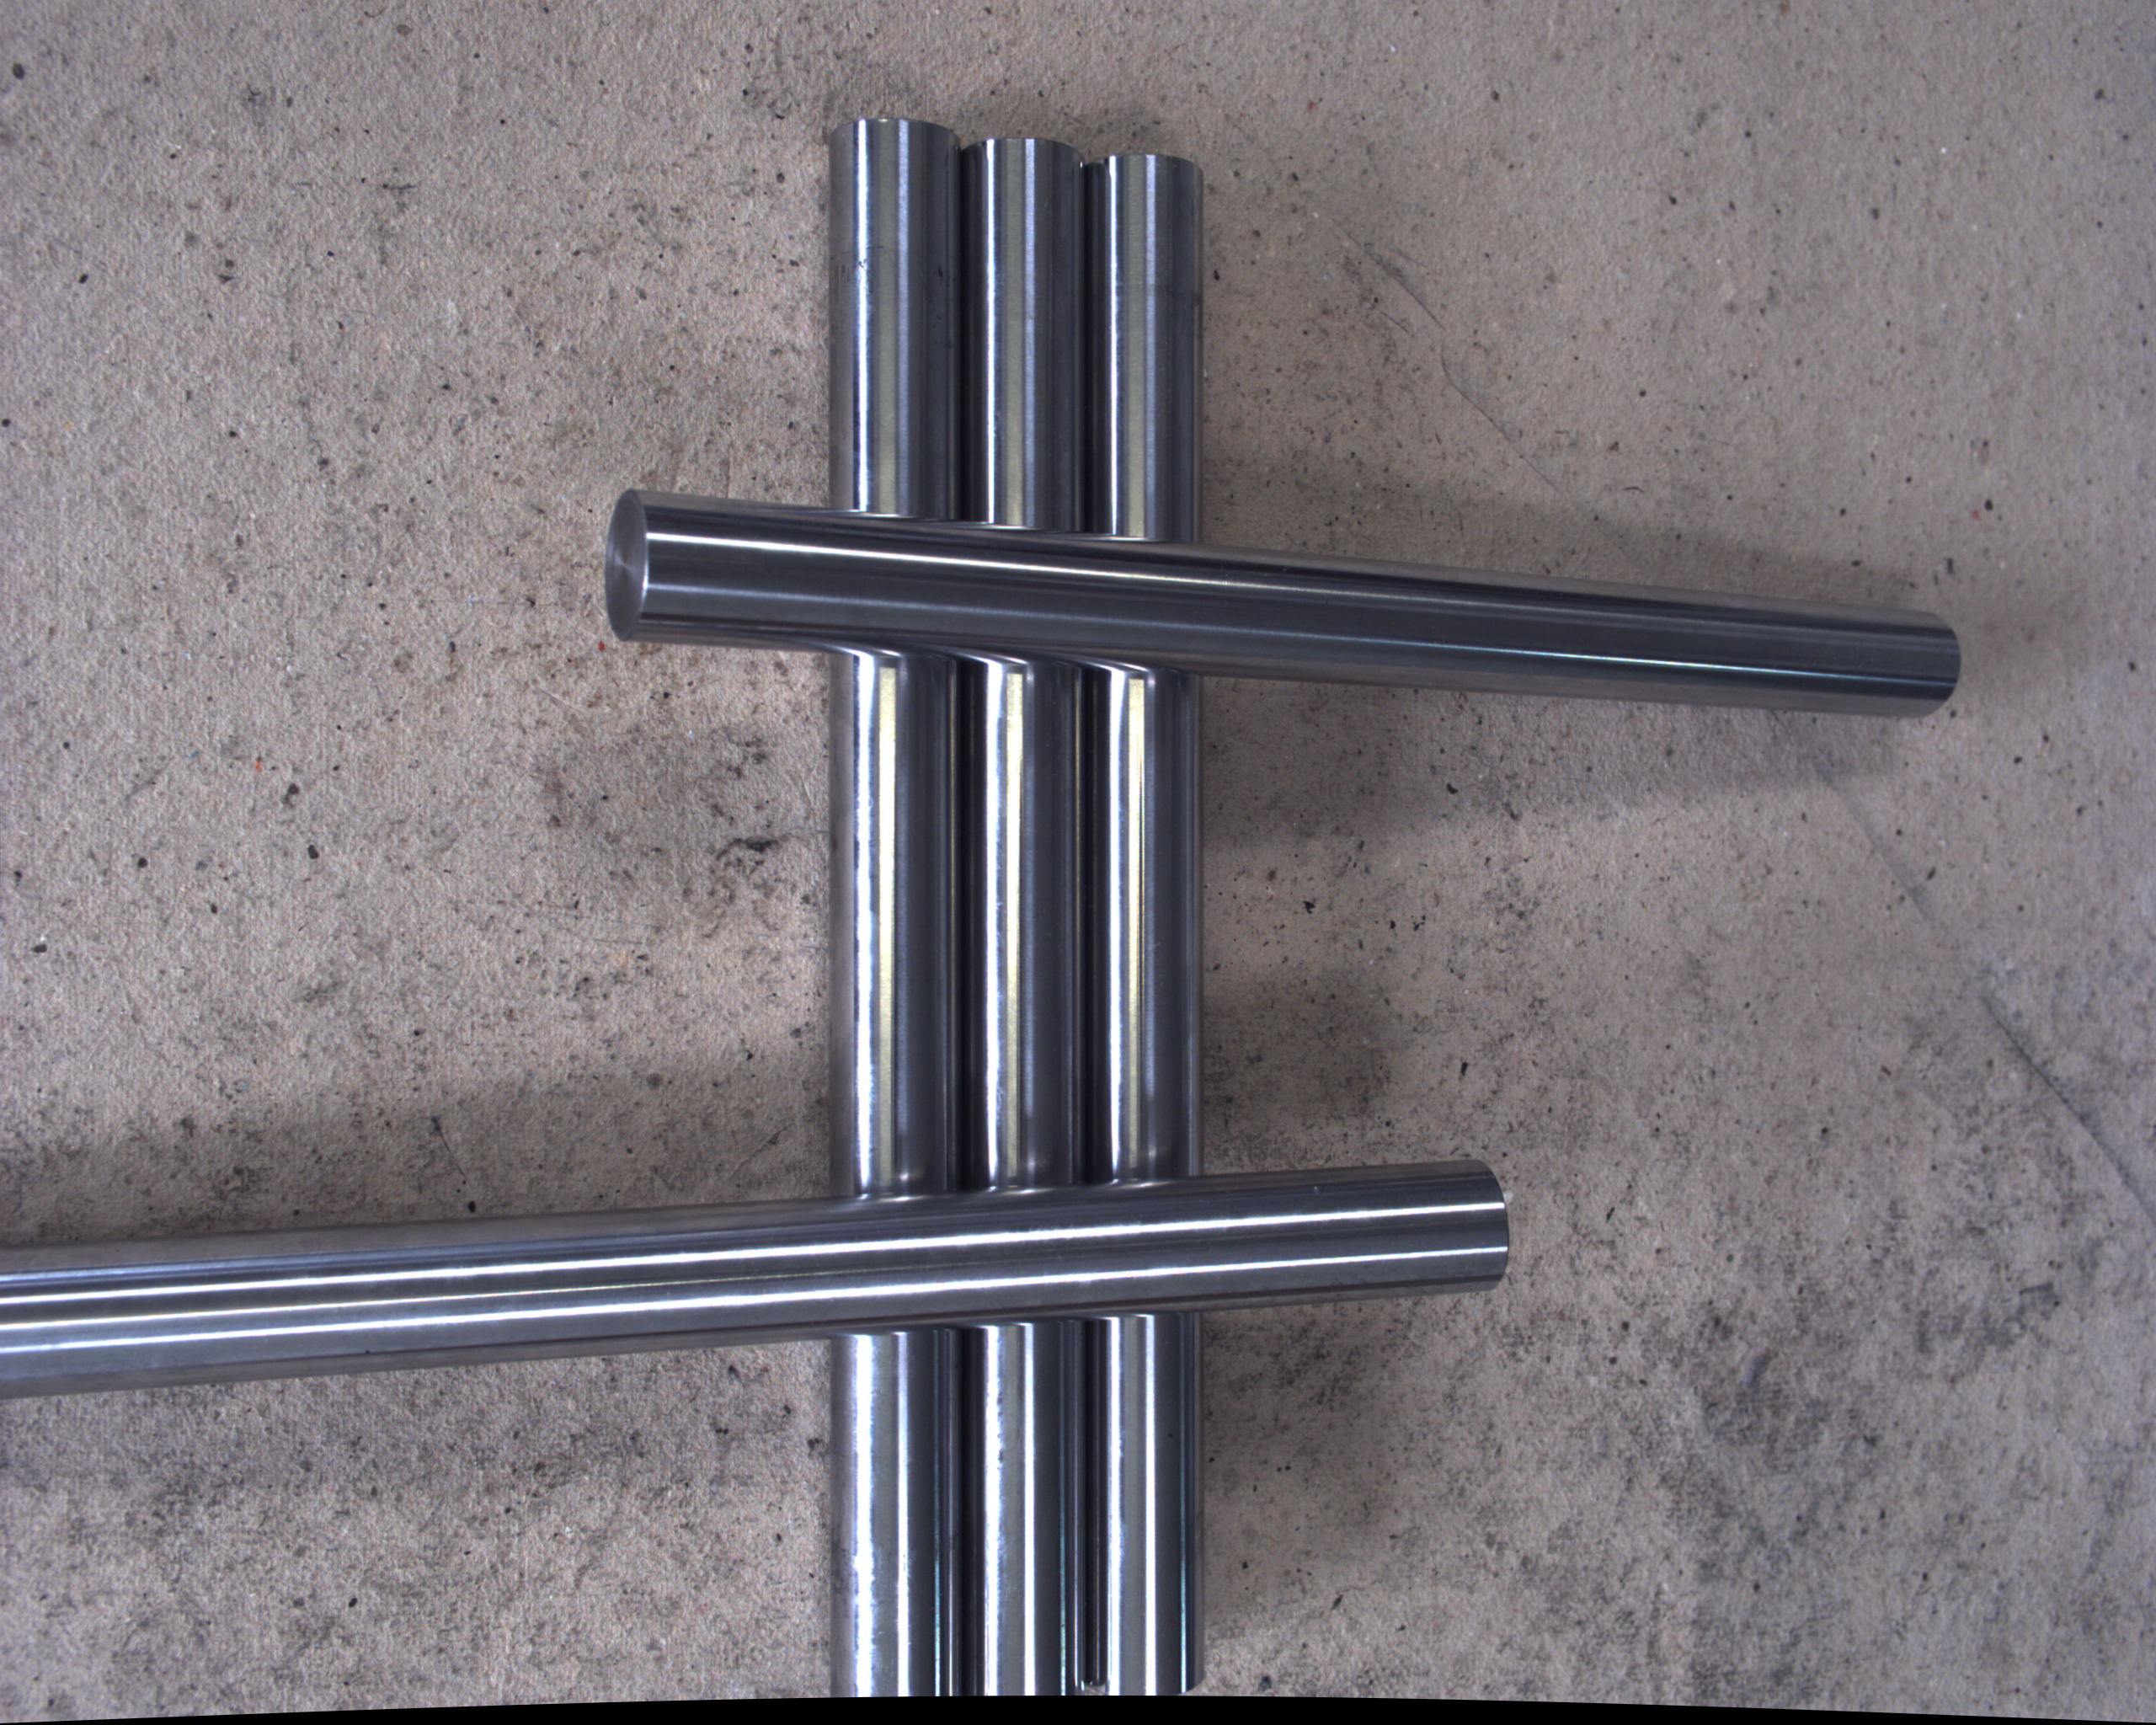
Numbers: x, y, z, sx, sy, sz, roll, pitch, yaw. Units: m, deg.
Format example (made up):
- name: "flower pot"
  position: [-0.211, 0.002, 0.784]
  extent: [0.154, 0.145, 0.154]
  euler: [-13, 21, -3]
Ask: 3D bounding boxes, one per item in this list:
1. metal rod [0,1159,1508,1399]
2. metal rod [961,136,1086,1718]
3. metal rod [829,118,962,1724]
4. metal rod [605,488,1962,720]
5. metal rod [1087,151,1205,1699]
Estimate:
- name: "metal rod"
  position: [-0.070, 0.072, 0.364]
  extent: [0.302, 0.025, 0.025]
  euler: [-1, 91, -13]
- name: "metal rod"
  position: [-0.011, 0.012, 0.405]
  extent: [0.025, 0.025, 0.298]
  euler: [0, 90, -20]
- name: "metal rod"
  position: [-0.035, 0.012, 0.397]
  extent: [0.025, 0.025, 0.298]
  euler: [0, 90, -20]
- name: "metal rod"
  position: [0.060, -0.047, 0.411]
  extent: [0.303, 0.025, 0.025]
  euler: [1, 90, -28]
- name: "metal rod"
  position: [0.013, 0.012, 0.414]
  extent: [0.025, 0.025, 0.298]
  euler: [0, 90, -20]
